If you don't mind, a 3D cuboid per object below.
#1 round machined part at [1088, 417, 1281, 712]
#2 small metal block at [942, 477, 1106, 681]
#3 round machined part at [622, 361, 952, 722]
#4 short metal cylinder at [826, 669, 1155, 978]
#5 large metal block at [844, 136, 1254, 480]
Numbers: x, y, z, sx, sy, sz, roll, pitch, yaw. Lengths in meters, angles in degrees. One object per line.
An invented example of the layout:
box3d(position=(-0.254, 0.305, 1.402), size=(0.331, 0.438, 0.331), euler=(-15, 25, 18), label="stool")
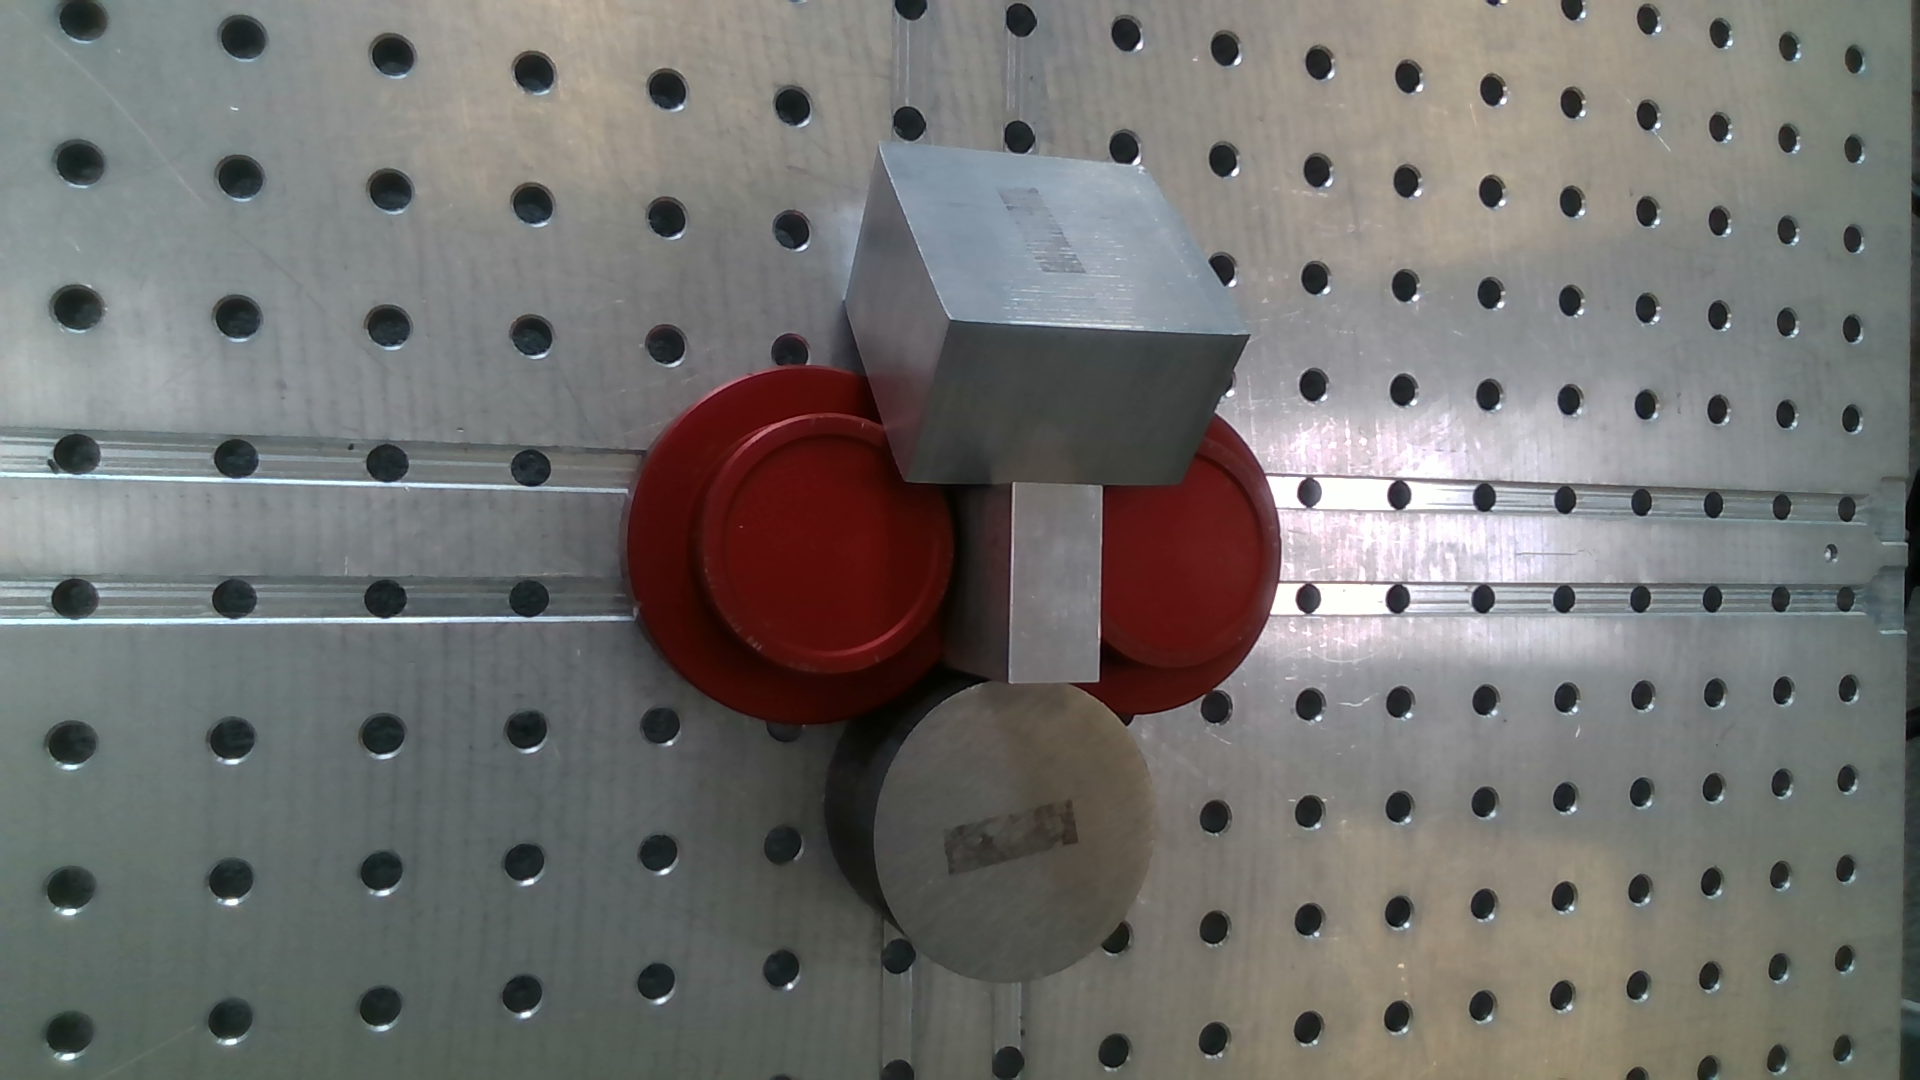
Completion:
box3d(position=(0.054, 0.002, 0.408), size=(0.098, 0.042, 0.098), euler=(0, 90, -20), label="round machined part")
box3d(position=(0.016, 0.010, 0.366), size=(0.025, 0.050, 0.050), euler=(1, 90, -20), label="small metal block")
box3d(position=(-0.041, 0.000, 0.373), size=(0.098, 0.042, 0.098), euler=(0, 90, -20), label="round machined part")
box3d(position=(0.007, 0.075, 0.385), size=(0.080, 0.050, 0.080), euler=(0, 90, -20), label="short metal cylinder")
box3d(position=(0.019, -0.062, 0.368), size=(0.080, 0.080, 0.050), euler=(-1, 135, -20), label="large metal block")
